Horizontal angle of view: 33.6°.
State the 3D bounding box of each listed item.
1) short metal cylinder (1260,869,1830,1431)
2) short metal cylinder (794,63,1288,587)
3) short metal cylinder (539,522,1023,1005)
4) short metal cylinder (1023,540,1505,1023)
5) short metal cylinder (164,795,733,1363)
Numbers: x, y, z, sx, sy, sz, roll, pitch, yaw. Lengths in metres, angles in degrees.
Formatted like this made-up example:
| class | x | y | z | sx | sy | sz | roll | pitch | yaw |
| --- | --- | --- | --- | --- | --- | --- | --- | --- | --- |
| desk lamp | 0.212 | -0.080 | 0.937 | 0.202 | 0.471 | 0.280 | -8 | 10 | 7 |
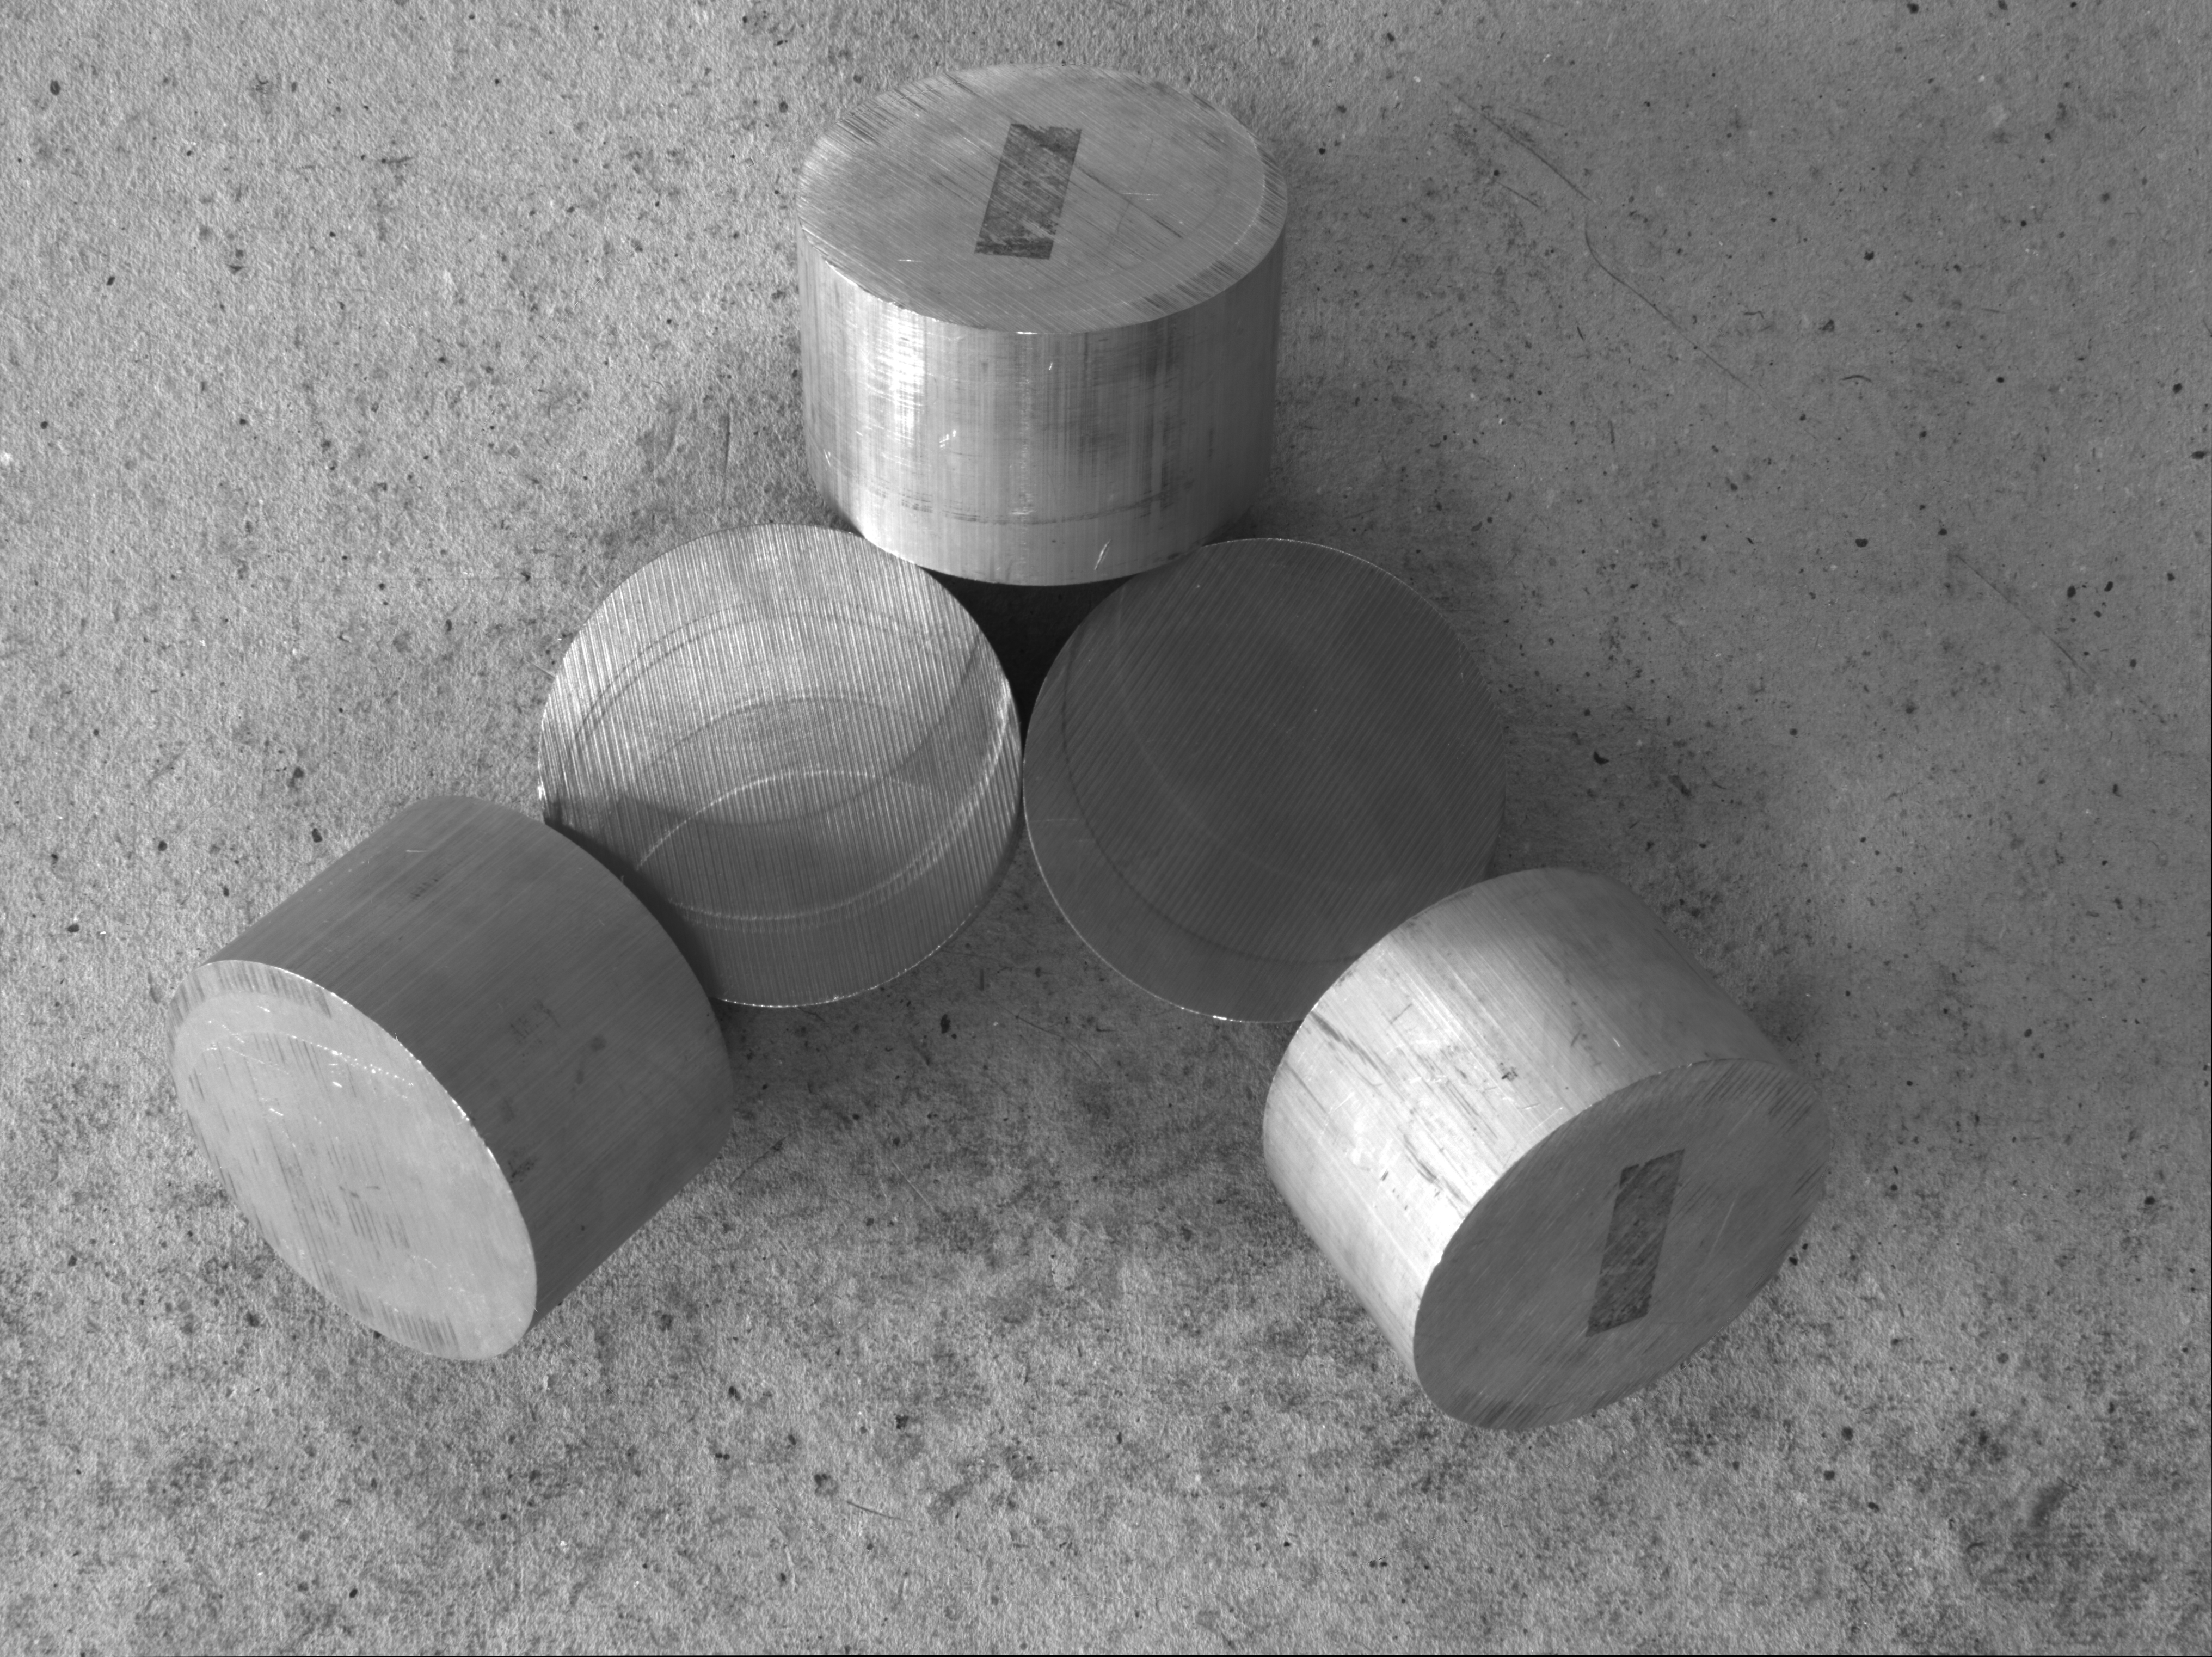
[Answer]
| class | x | y | z | sx | sy | sz | roll | pitch | yaw |
| --- | --- | --- | --- | --- | --- | --- | --- | --- | --- |
| short metal cylinder | 0.073 | 0.054 | 0.612 | 0.080 | 0.080 | 0.050 | -37 | 48 | 0 |
| short metal cylinder | -0.011 | -0.085 | 0.612 | 0.080 | 0.080 | 0.050 | 2 | 132 | 0 |
| short metal cylinder | -0.054 | -0.011 | 0.632 | 0.080 | 0.050 | 0.080 | 0 | 90 | 0 |
| short metal cylinder | 0.026 | -0.008 | 0.633 | 0.080 | 0.050 | 0.080 | 0 | 90 | 0 |
| short metal cylinder | -0.109 | 0.042 | 0.611 | 0.080 | 0.080 | 0.050 | 46 | 50 | 0 |
